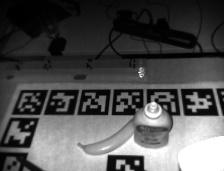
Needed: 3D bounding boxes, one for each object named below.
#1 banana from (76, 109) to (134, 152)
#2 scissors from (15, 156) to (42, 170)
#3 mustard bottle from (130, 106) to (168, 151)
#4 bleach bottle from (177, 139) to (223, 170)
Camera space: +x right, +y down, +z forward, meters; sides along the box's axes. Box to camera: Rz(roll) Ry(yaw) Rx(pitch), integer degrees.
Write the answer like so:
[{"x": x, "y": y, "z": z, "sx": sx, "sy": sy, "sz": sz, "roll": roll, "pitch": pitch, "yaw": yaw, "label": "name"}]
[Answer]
[{"x": -0.007, "y": 0.135, "z": 0.623, "sx": 0.198, "sy": 0.039, "sz": 0.073, "roll": -33, "pitch": 40, "yaw": -15, "label": "banana"}, {"x": -0.171, "y": 0.204, "z": 0.490, "sx": 0.201, "sy": 0.016, "sz": 0.088, "roll": 24, "pitch": 65, "yaw": 17, "label": "scissors"}, {"x": 0.091, "y": 0.107, "z": 0.549, "sx": 0.095, "sy": 0.193, "sz": 0.058, "roll": 12, "pitch": 57, "yaw": 15, "label": "mustard bottle"}, {"x": 0.180, "y": 0.192, "z": 0.417, "sx": 0.102, "sy": 0.253, "sz": 0.067, "roll": -20, "pitch": 50, "yaw": 3, "label": "bleach bottle"}]
